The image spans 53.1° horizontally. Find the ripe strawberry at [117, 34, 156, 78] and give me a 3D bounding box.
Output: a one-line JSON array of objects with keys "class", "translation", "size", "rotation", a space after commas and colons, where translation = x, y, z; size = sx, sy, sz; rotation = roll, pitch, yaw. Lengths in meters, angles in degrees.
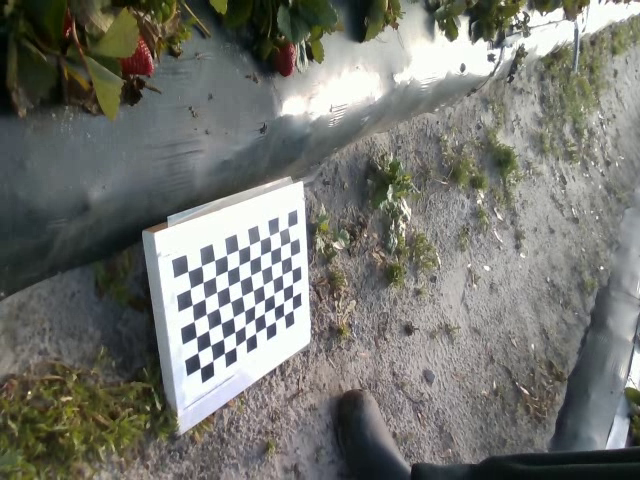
[{"class": "ripe strawberry", "translation": [-0.124, -0.118, 0.412], "size": [0.025, 0.032, 0.030], "rotation": [-8, -43, 49]}]

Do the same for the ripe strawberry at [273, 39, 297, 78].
[{"class": "ripe strawberry", "translation": [-0.030, -0.159, 0.554], "size": [0.021, 0.036, 0.029], "rotation": [1, 15, 40]}]
